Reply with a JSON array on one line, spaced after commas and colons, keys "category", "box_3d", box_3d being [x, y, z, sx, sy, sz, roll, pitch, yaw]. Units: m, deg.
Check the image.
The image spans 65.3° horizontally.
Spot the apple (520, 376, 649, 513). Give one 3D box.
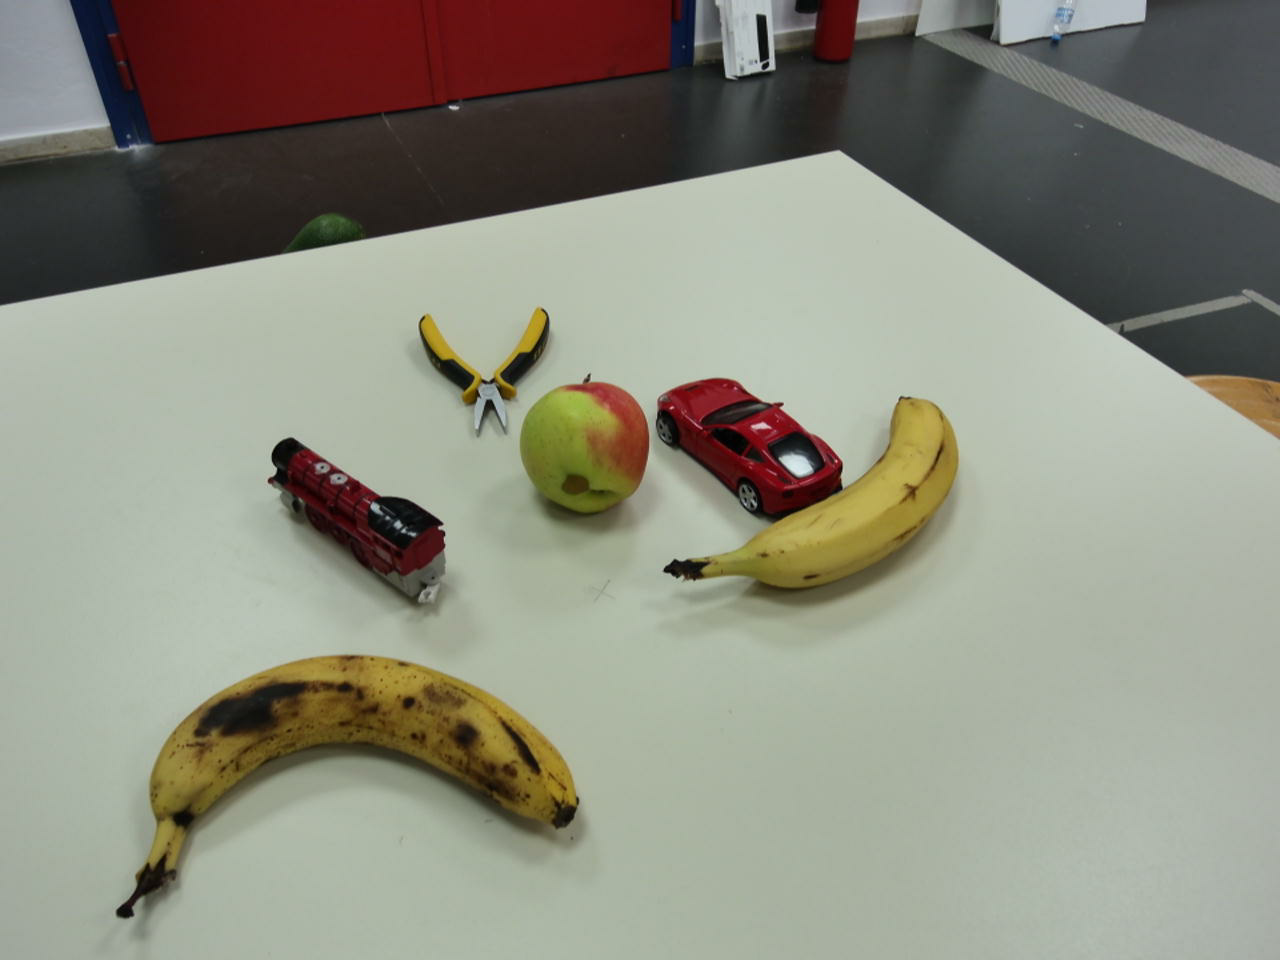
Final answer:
[{"category": "apple", "box_3d": [-0.030, -0.021, 0.574, 0.075, 0.074, 0.075, -31, 48, -33]}]
